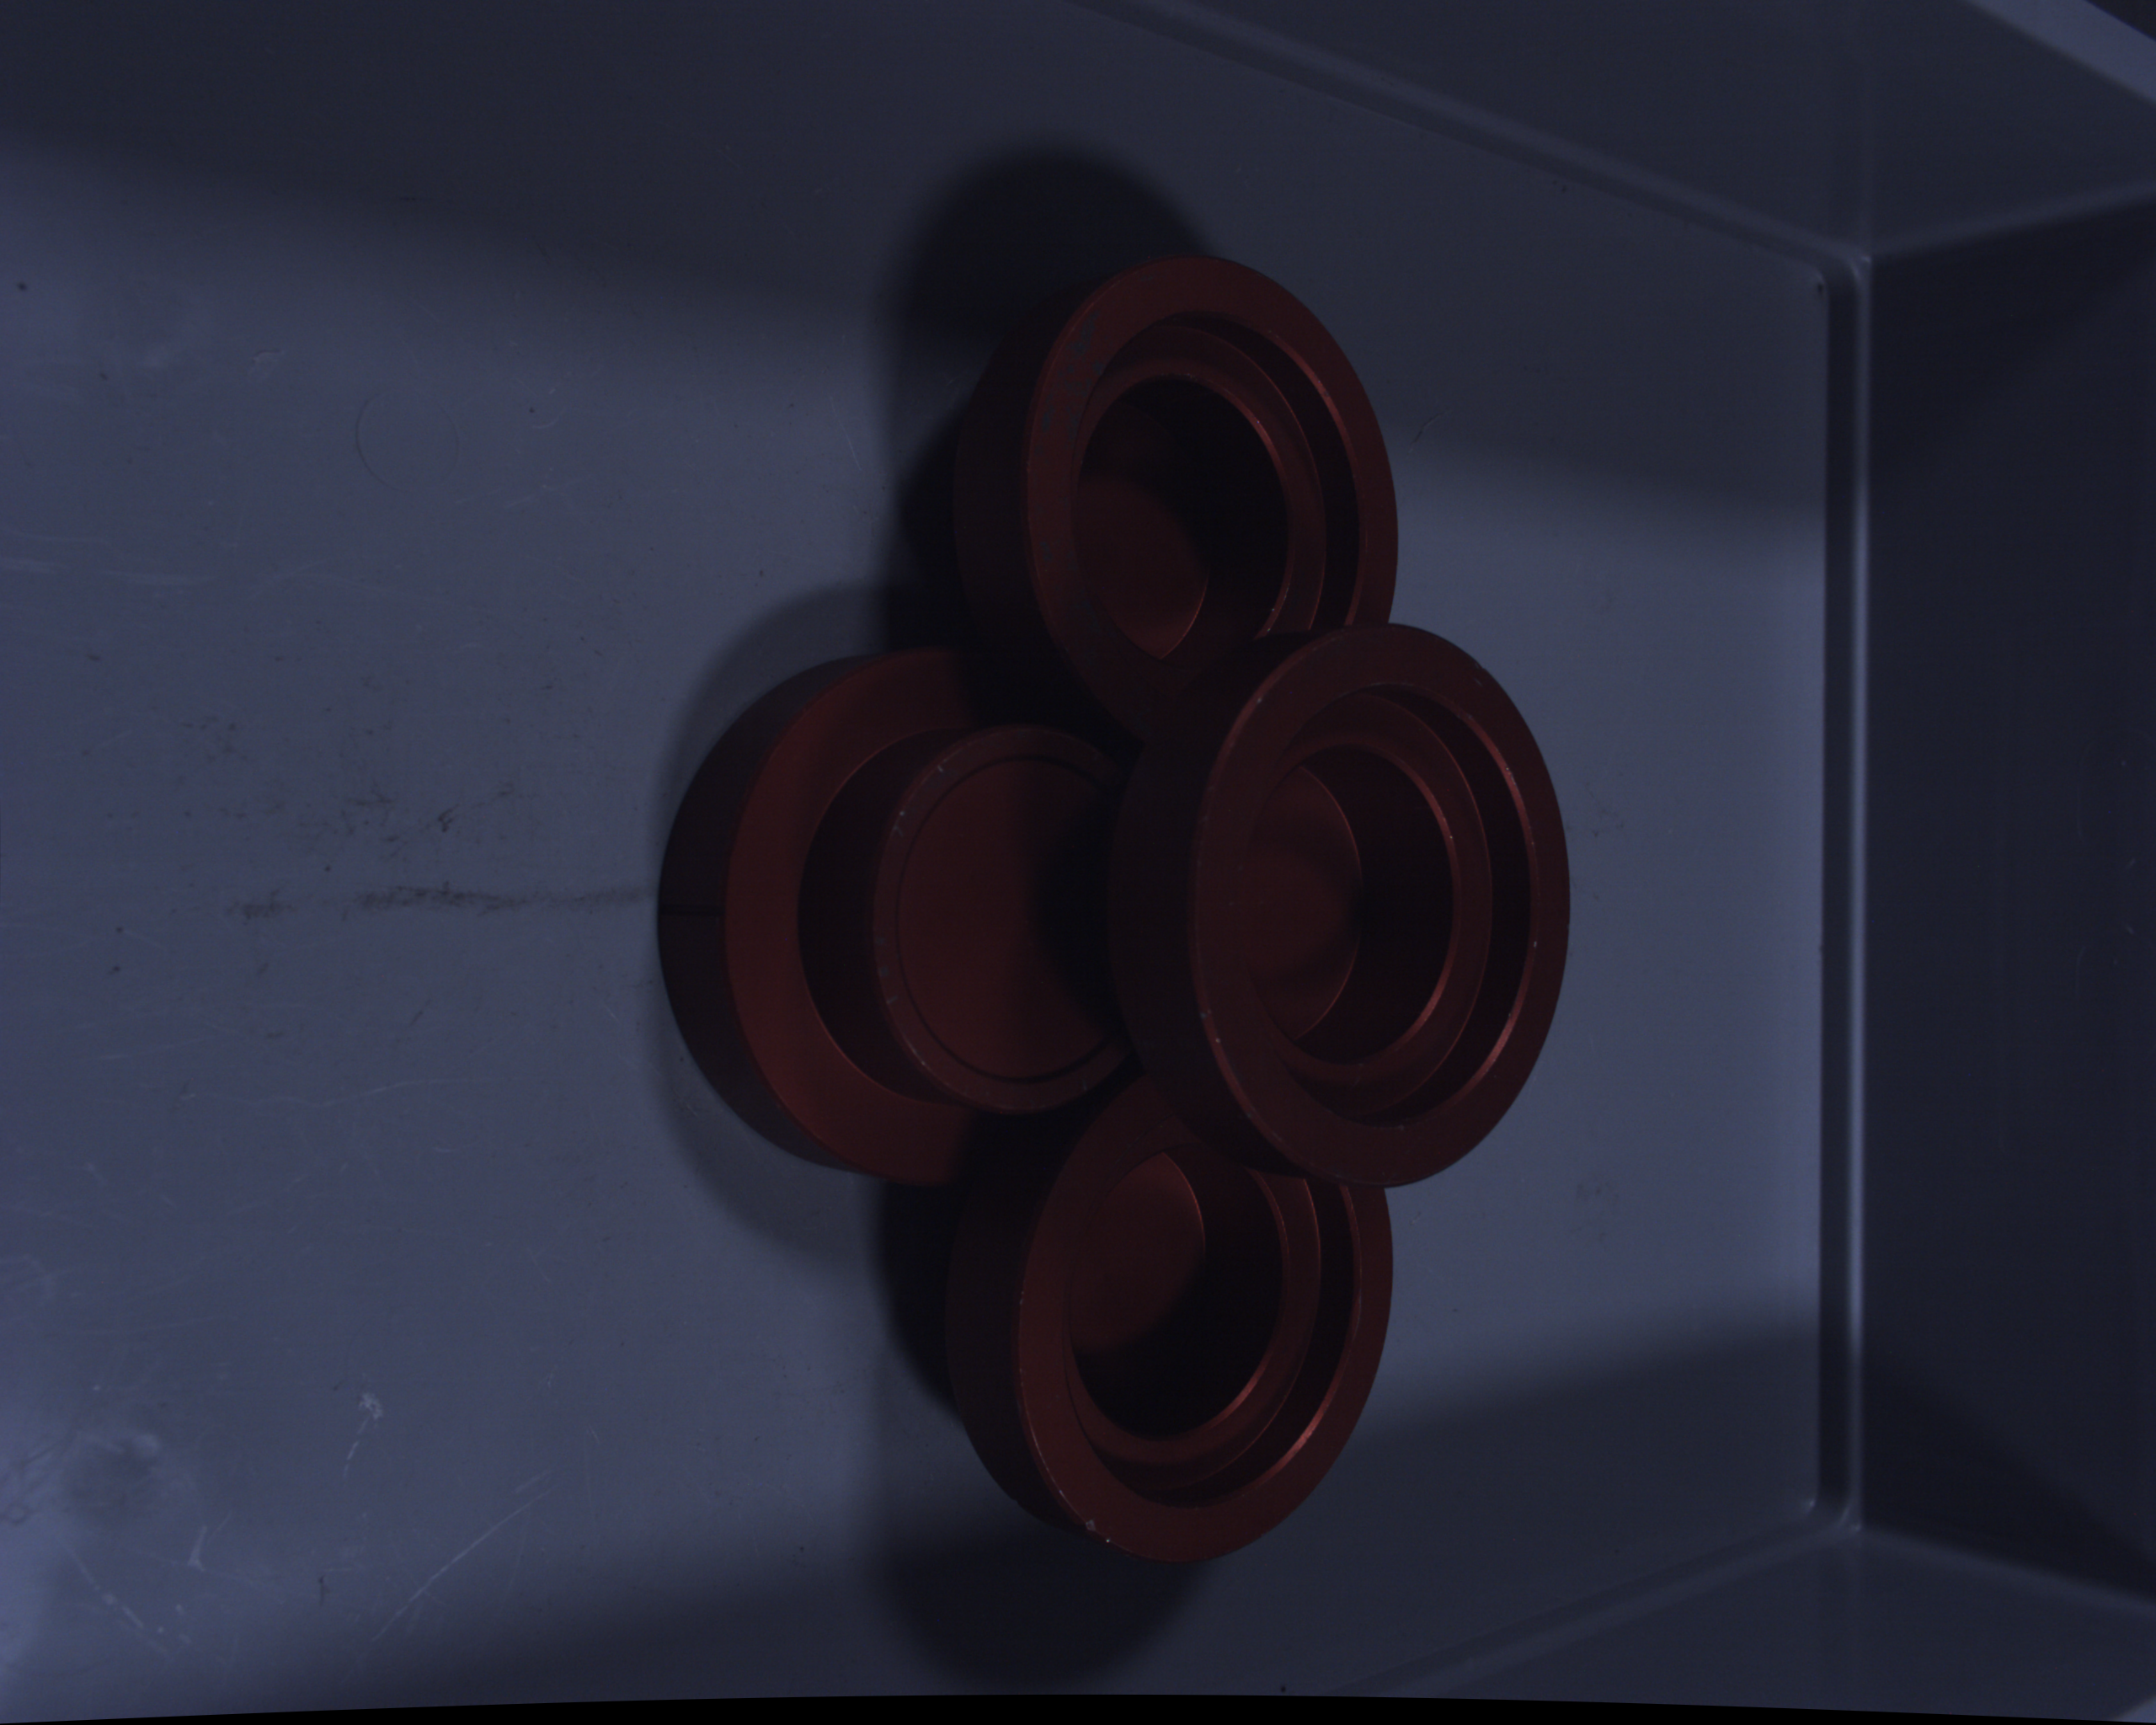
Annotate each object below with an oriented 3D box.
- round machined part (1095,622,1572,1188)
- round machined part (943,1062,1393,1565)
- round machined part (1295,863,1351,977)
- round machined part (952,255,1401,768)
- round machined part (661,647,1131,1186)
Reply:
[{"bbox_3d":[0.042,0.007,0.375,0.099,0.042,0.097,0,90,-40],"label":"round machined part"},{"bbox_3d":[0.013,0.082,0.406,0.099,0.042,0.097,0,90,-40],"label":"round machined part"},{"bbox_3d":[0.055,0.013,0.441,0.099,0.042,0.097,0,90,-40],"label":"round machined part"},{"bbox_3d":[0.015,-0.065,0.407,0.099,0.042,0.097,0,90,-40],"label":"round machined part"},{"bbox_3d":[-0.021,0.010,0.377,0.099,0.042,0.097,0,90,-40],"label":"round machined part"}]
